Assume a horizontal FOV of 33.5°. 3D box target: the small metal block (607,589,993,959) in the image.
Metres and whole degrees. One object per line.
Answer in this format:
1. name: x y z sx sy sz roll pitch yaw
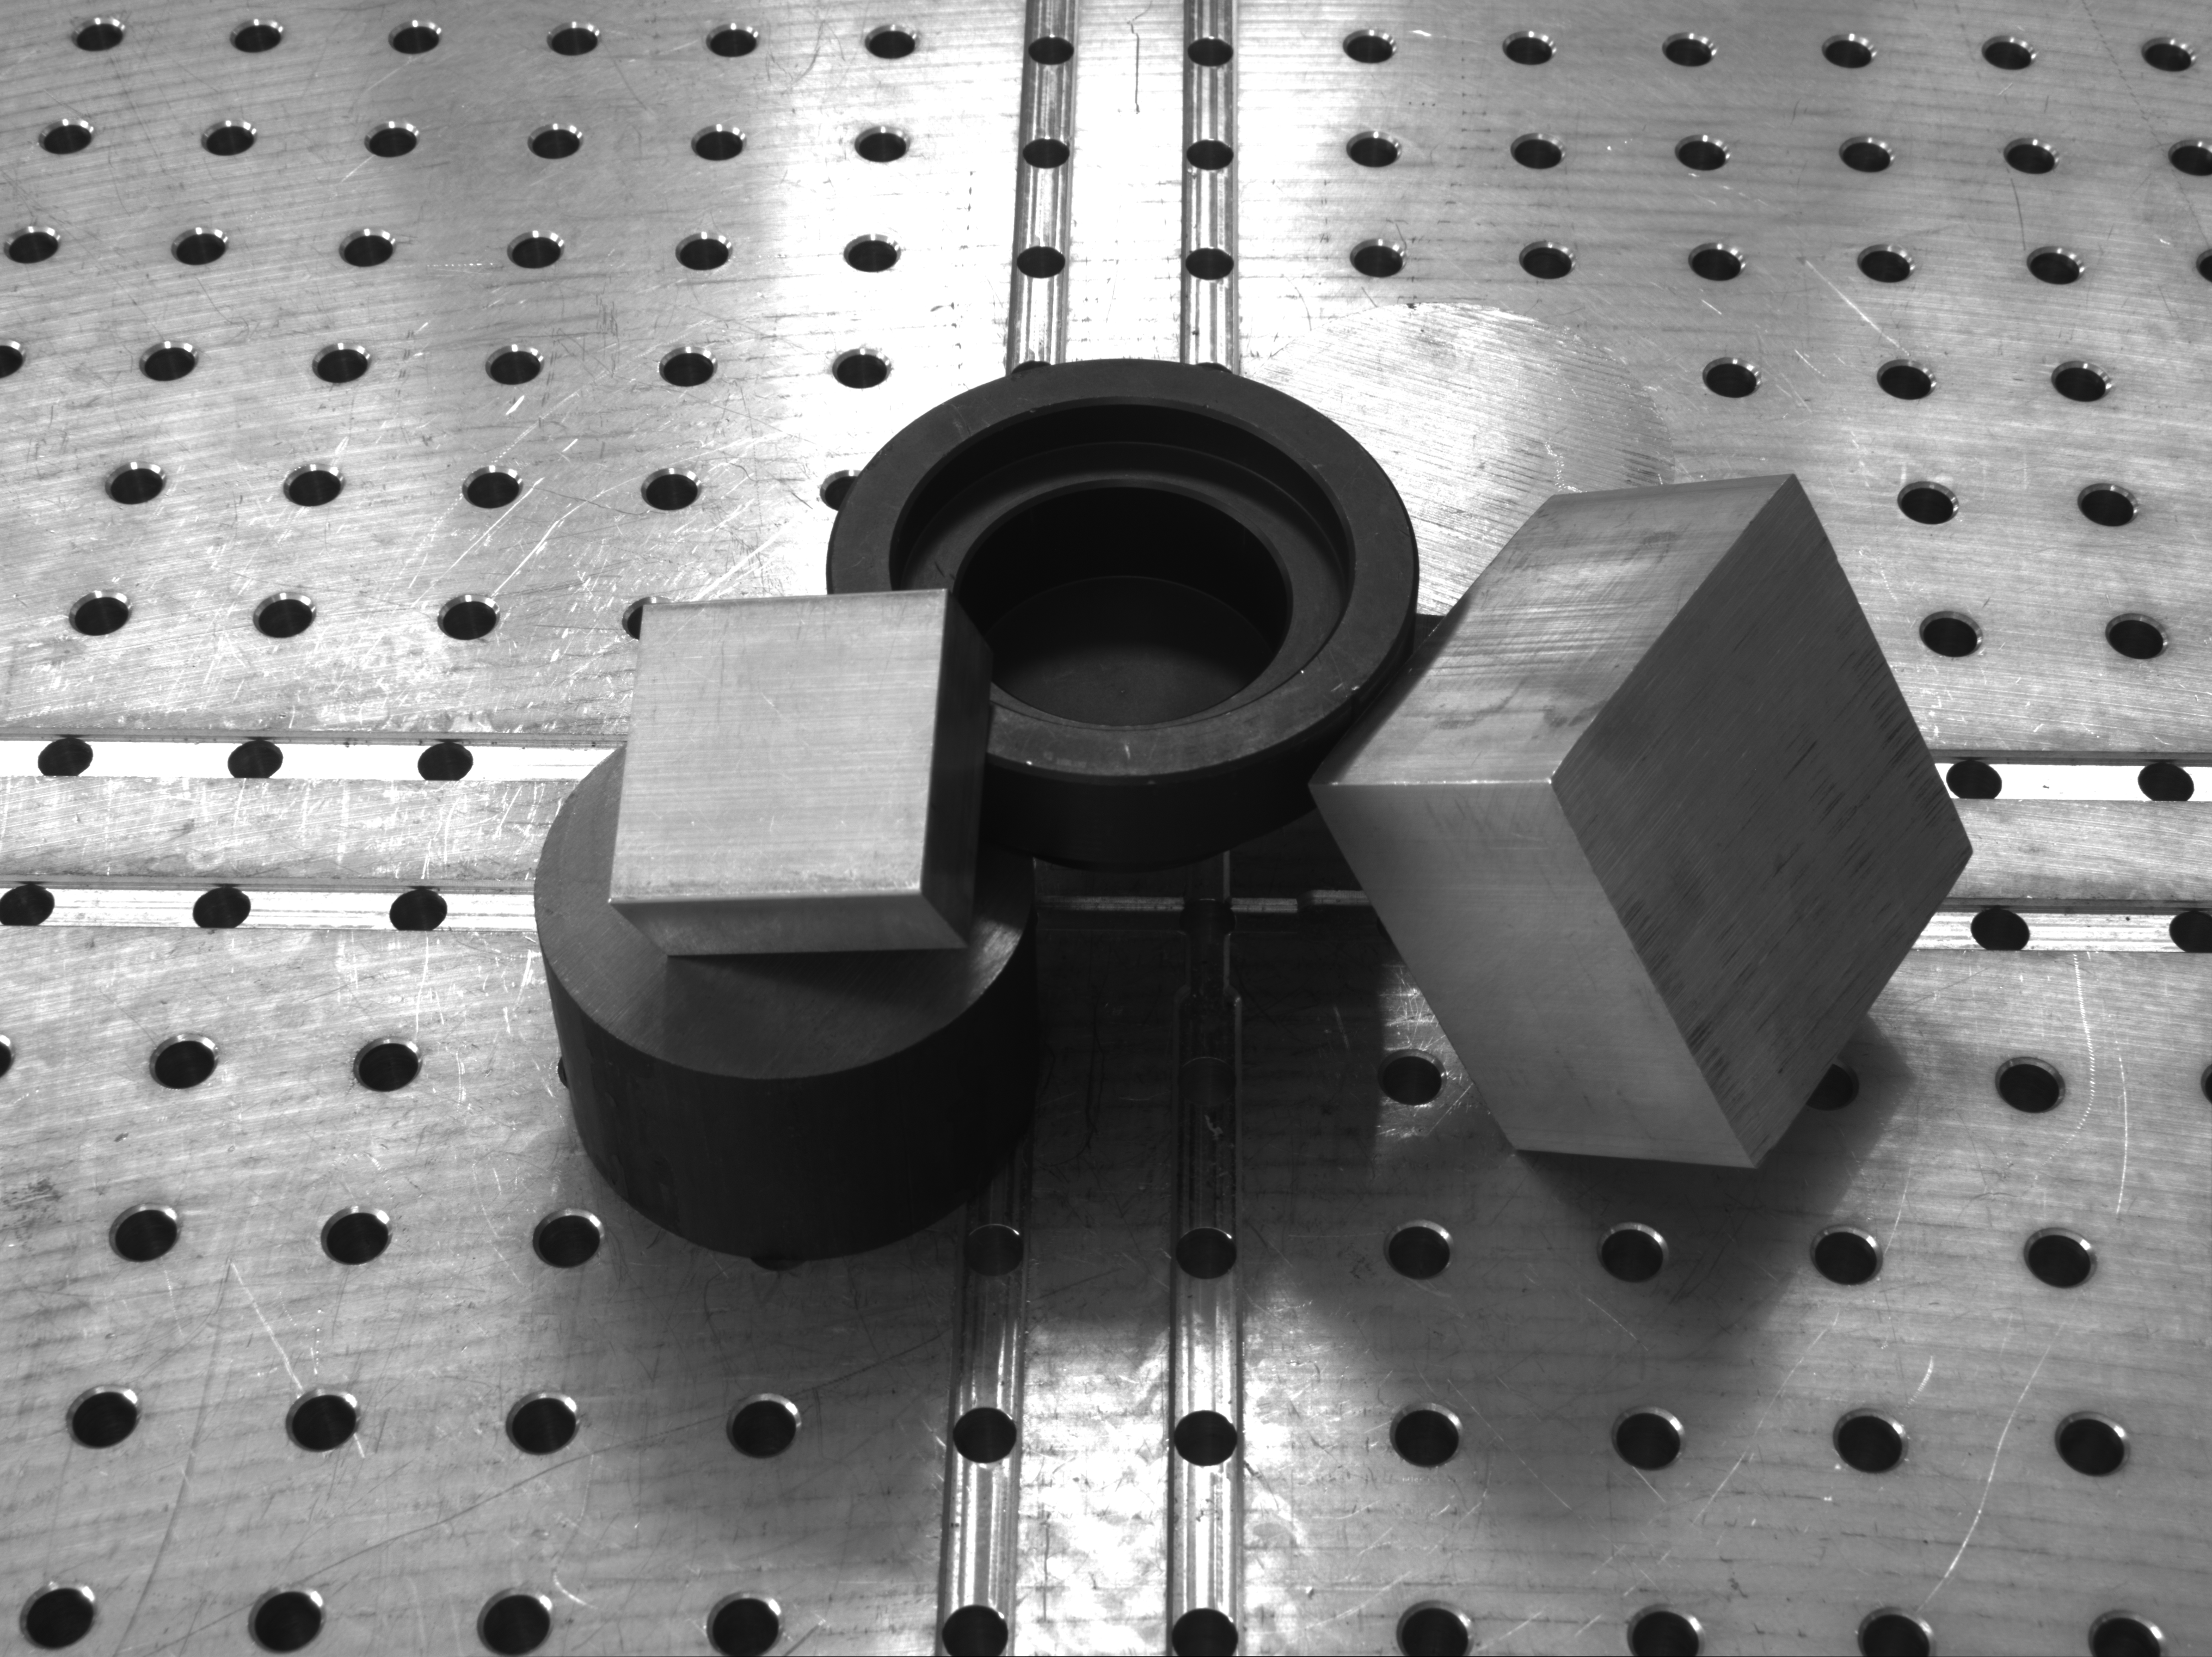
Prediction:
1. small metal block: -0.047 -0.008 0.571 0.050 0.025 0.050 -2 68 14

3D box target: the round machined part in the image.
1. round machined part: 0.003 -0.031 0.623 0.098 0.042 0.098 0 50 0

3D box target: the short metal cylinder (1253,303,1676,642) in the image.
1. short metal cylinder: 0.061 -0.050 0.672 0.080 0.050 0.080 0 50 0

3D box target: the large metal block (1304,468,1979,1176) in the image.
1. large metal block: 0.090 -0.001 0.602 0.050 0.080 0.080 -1 39 47

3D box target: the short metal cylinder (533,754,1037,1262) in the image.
1. short metal cylinder: -0.052 0.024 0.609 0.080 0.050 0.080 0 50 0
